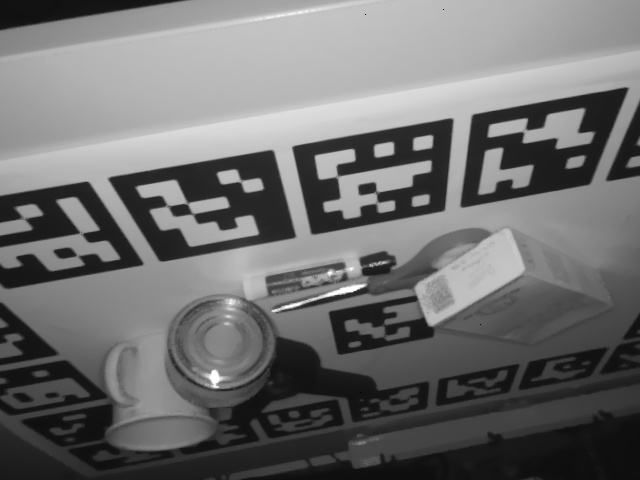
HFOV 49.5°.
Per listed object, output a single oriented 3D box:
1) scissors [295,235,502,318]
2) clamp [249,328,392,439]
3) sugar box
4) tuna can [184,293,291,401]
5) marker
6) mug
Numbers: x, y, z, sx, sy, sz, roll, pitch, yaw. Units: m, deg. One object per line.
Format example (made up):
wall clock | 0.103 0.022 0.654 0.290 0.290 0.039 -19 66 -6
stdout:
scissors | 0.076 0.043 0.599 0.202 0.016 0.087 -15 146 8
clamp | -0.026 0.141 0.706 0.165 0.037 0.202 -16 141 8
sugar box | 0.186 0.052 0.610 0.091 0.045 0.178 -34 142 28
tuna can | -0.067 0.086 0.571 0.086 0.086 0.033 2 141 -14
marker | 0.026 0.023 0.567 0.121 0.020 0.019 -12 141 1
mug | -0.121 0.124 0.614 0.092 0.082 0.118 -27 142 21
